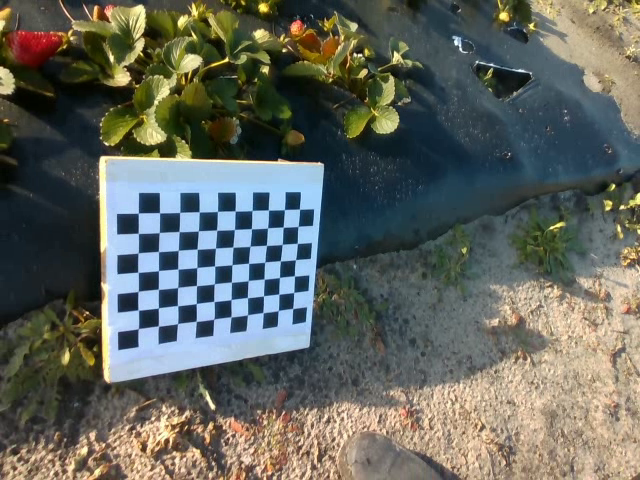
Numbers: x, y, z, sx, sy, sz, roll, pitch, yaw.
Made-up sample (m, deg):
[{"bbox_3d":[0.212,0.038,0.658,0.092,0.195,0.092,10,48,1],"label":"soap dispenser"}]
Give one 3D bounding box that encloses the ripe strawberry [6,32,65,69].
[{"bbox_3d":[-0.342,-0.235,0.723,0.072,0.057,0.055,-25,27,-14],"label":"ripe strawberry"}]
